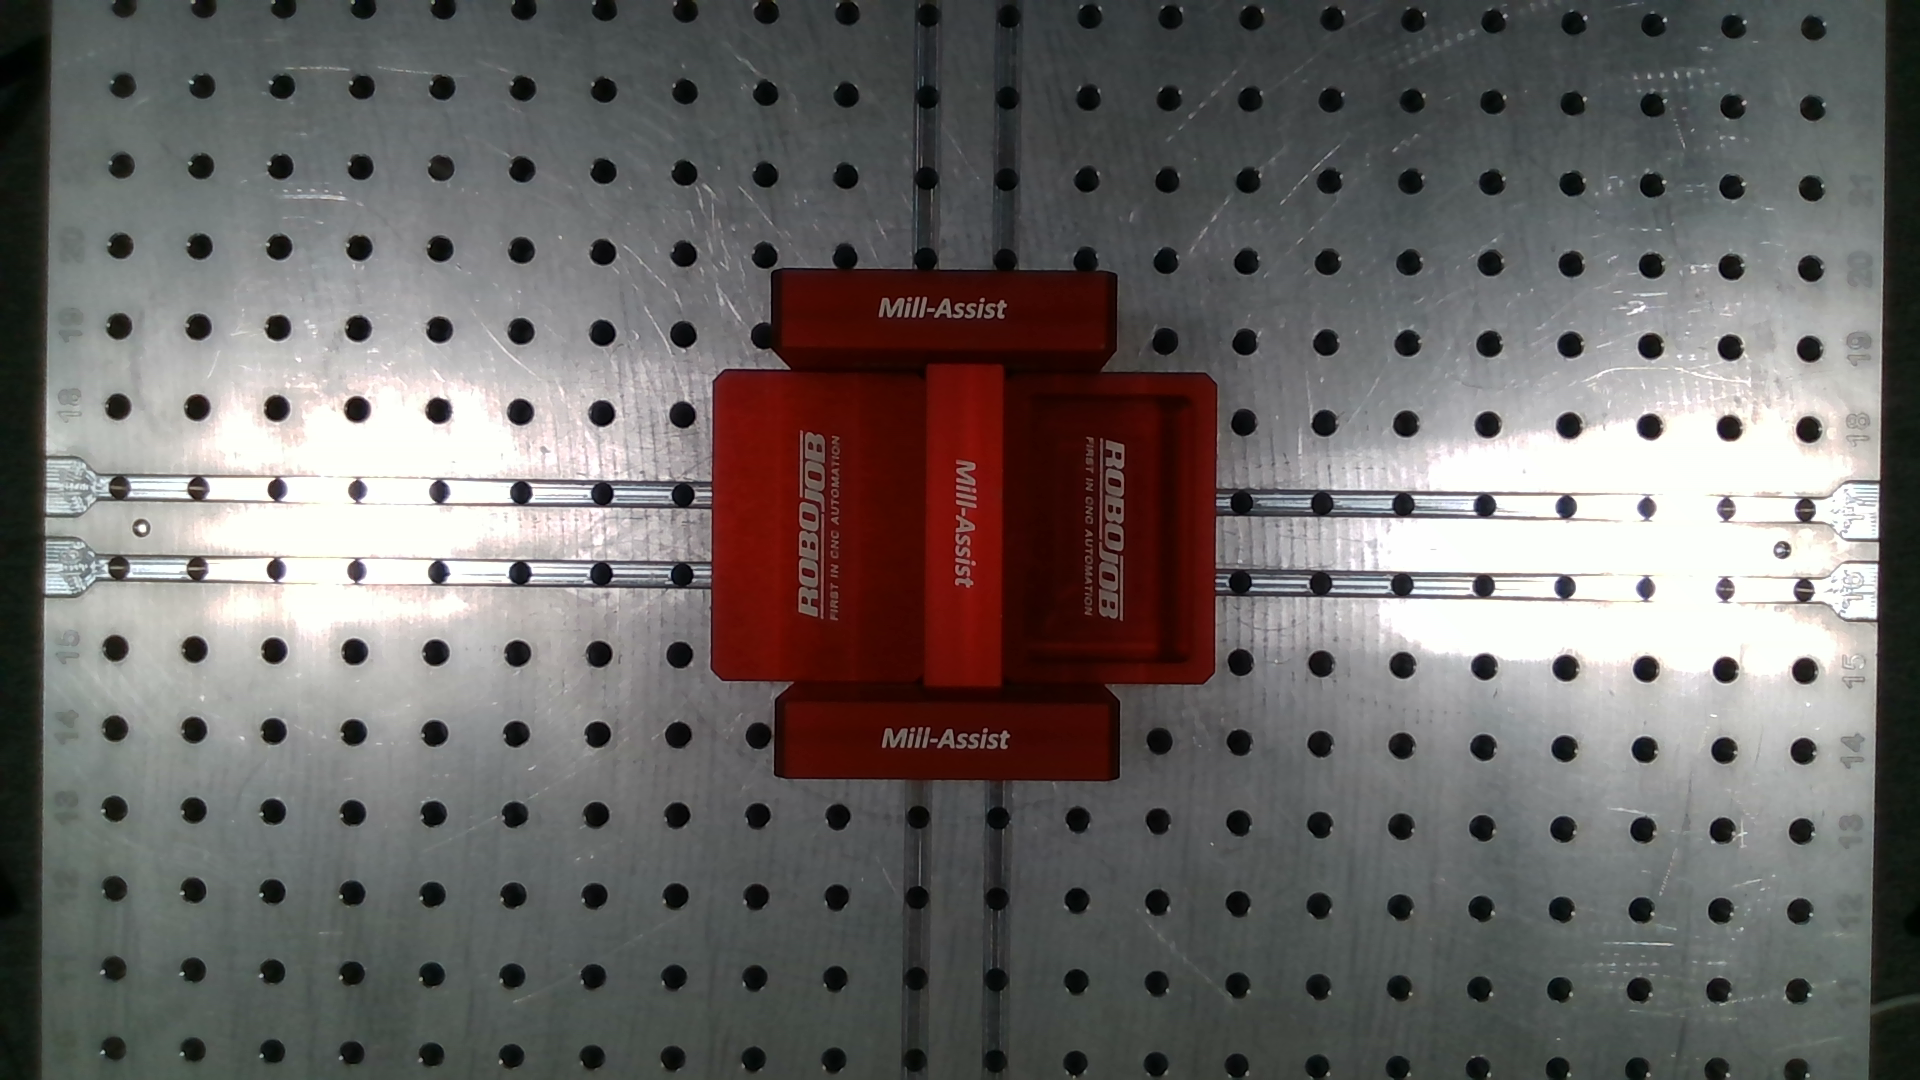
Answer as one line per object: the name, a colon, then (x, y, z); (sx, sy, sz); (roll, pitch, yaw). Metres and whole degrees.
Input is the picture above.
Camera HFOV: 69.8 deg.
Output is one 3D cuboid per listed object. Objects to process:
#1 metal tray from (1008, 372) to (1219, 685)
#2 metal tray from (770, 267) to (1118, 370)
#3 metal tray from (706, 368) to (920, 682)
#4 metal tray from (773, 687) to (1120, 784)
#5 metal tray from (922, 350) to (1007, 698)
metal tray: (0.062, -0.005, 0.587); (0.090, 0.030, 0.130); (0, 91, 0)
metal tray: (-0.006, -0.086, 0.555); (0.130, 0.090, 0.030); (1, 90, 0)
metal tray: (-0.060, -0.006, 0.585); (0.090, 0.030, 0.130); (0, 91, 0)
metal tray: (-0.005, 0.075, 0.557); (0.130, 0.090, 0.030); (1, 90, 0)
metal tray: (0.002, -0.006, 0.555); (0.030, 0.090, 0.130); (1, 90, 0)
